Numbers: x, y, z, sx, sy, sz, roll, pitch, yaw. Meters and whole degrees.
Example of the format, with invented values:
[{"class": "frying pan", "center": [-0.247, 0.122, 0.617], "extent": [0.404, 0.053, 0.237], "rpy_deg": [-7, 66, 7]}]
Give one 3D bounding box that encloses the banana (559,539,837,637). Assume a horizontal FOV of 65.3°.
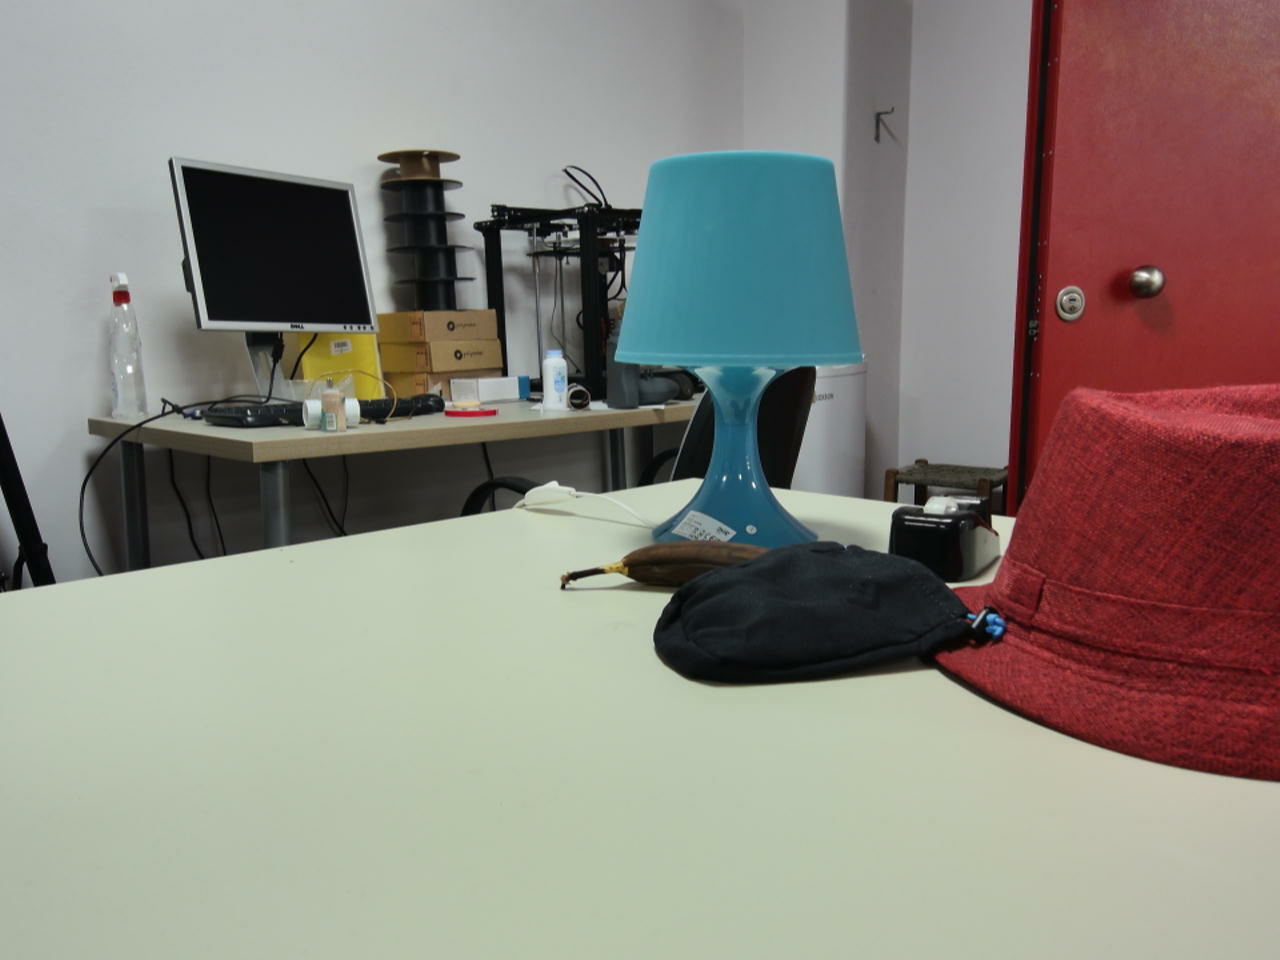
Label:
[{"class": "banana", "center": [0.047, 0.058, 0.611], "extent": [0.091, 0.033, 0.188], "rpy_deg": [-5, 9, -41]}]
